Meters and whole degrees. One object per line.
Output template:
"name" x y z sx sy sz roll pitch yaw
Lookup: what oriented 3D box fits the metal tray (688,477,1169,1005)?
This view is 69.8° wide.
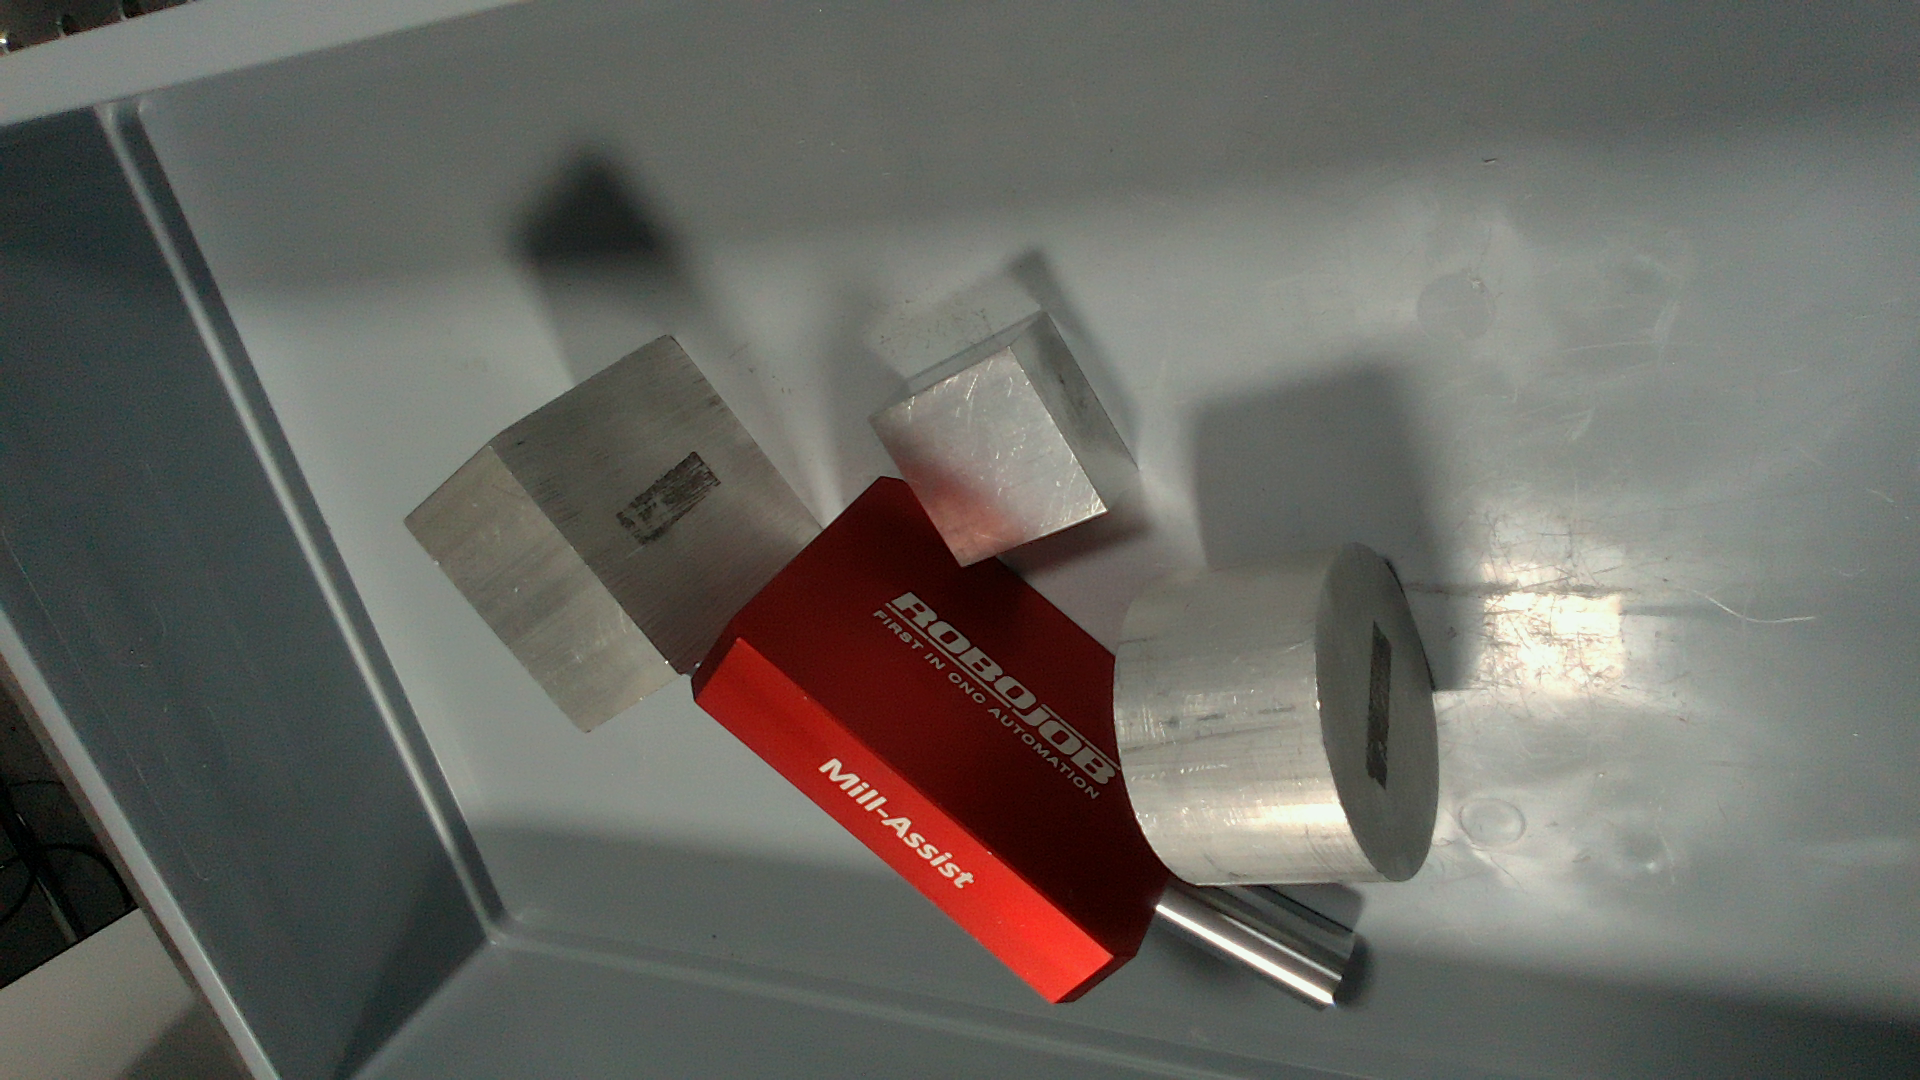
"metal tray" 0.003 0.051 0.378 0.130 0.090 0.030 40 129 1

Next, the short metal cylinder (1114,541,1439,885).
"short metal cylinder" 0.080 0.044 0.340 0.050 0.080 0.080 -12 112 34

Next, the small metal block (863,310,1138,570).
"small metal block" 0.011 -0.026 0.368 0.050 0.025 0.050 -22 107 36

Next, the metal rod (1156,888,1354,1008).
"metal rod" -0.020 0.065 0.442 0.300 0.025 0.025 26 128 12

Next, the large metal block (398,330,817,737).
"large metal block" -0.099 -0.003 0.407 0.050 0.080 0.080 -30 102 38
